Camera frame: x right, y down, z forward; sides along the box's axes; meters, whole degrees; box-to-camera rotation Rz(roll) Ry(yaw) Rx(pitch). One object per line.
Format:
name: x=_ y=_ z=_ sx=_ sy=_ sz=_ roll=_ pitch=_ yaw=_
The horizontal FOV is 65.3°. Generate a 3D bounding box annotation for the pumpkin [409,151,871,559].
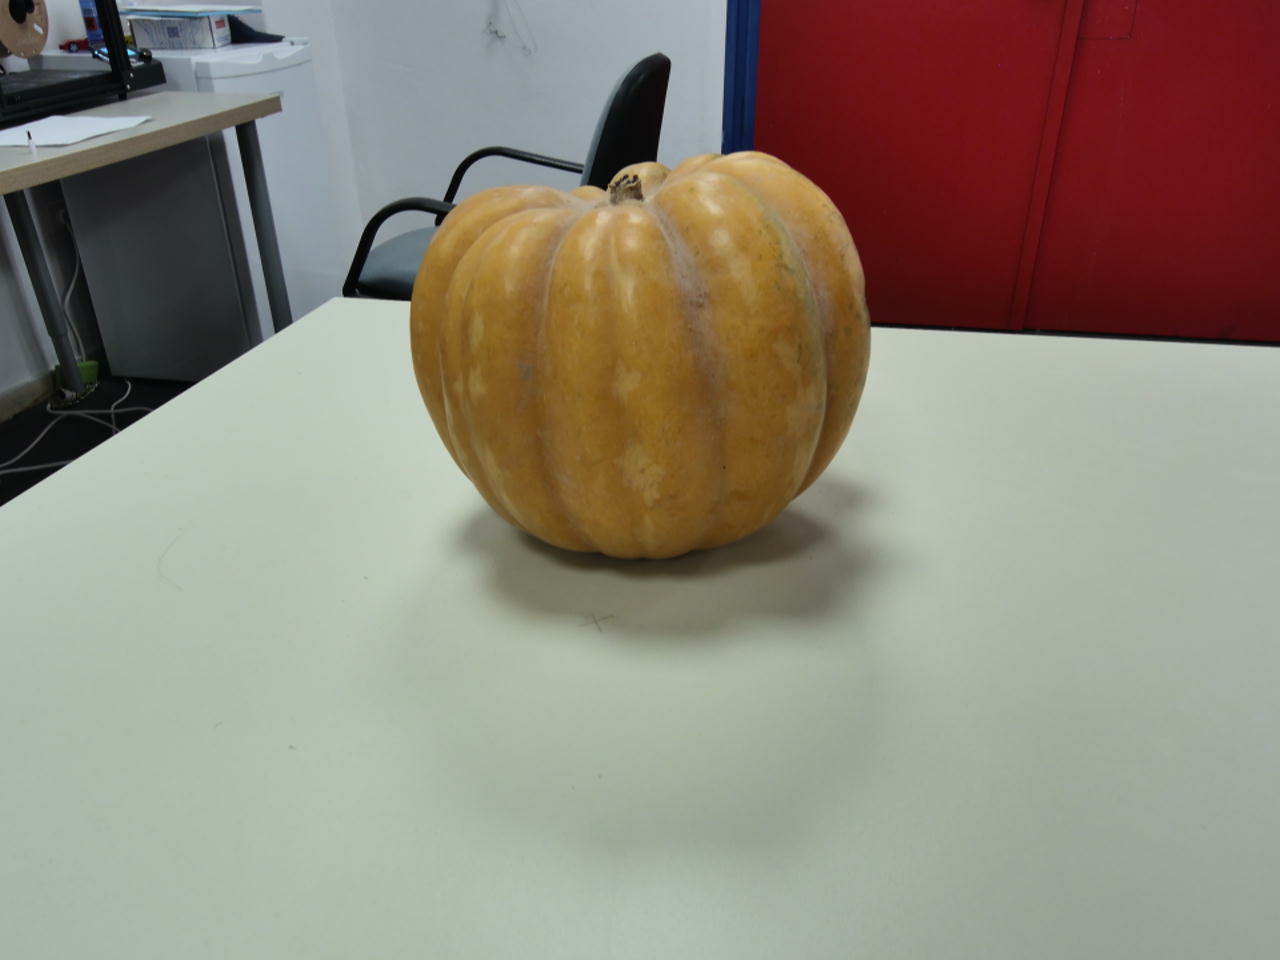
pumpkin: x=0.003 y=-0.064 z=0.509 sx=0.230 sy=0.194 sz=0.230 roll=0 pitch=26 yaw=0
